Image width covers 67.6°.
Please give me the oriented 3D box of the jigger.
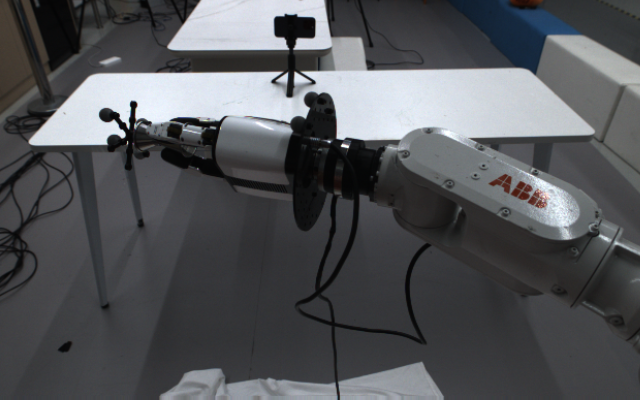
[{"bbox_3d":[-0.187,-0.082,0.614,0.071,0.043,0.043,5,34,15],"label":"jigger"}]
